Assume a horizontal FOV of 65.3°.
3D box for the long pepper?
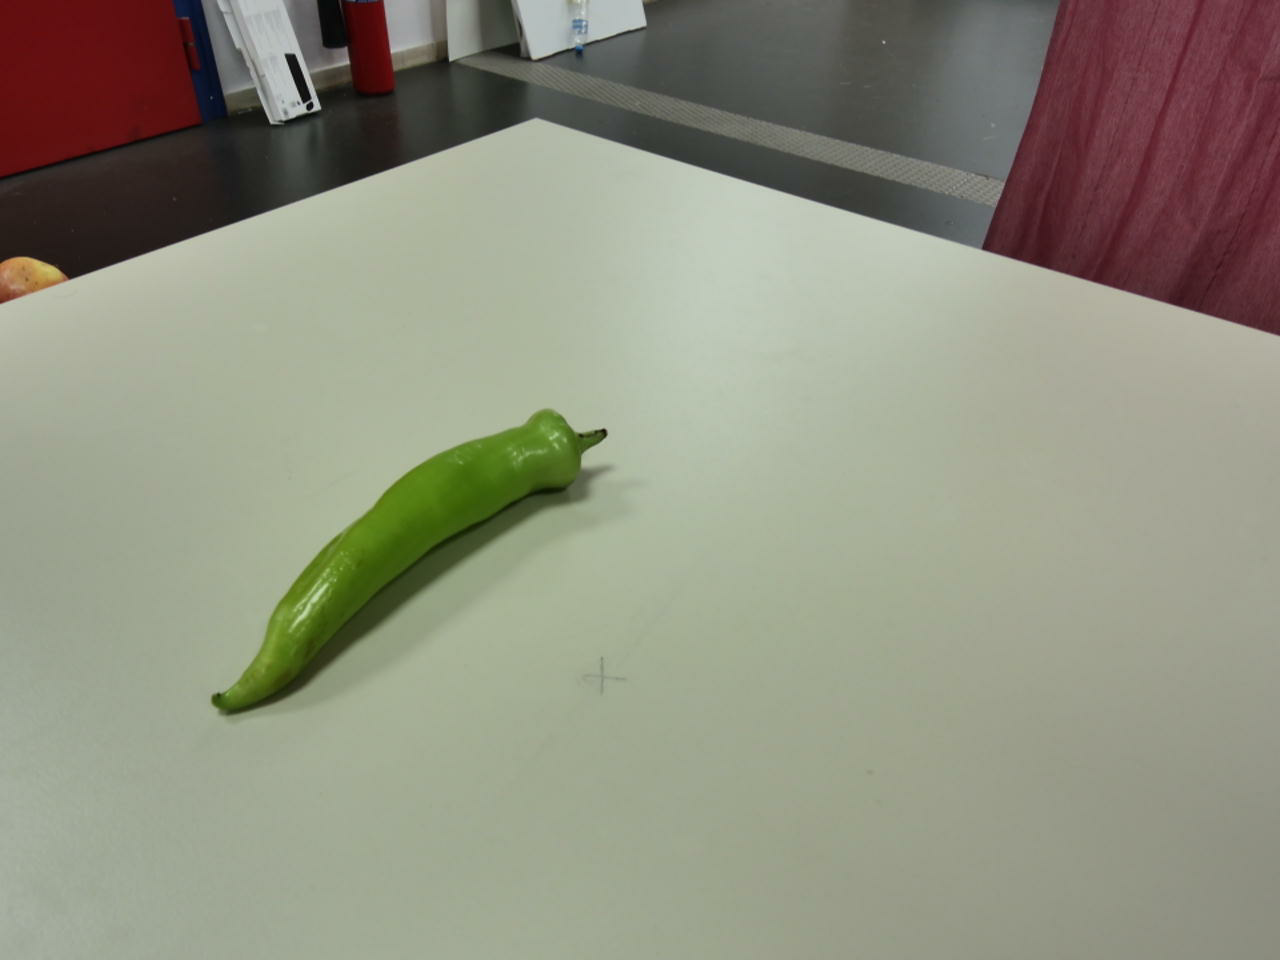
[{"bbox_3d":[-0.089,0.018,0.399,0.047,0.038,0.197,27,43,31],"label":"long pepper"}]
